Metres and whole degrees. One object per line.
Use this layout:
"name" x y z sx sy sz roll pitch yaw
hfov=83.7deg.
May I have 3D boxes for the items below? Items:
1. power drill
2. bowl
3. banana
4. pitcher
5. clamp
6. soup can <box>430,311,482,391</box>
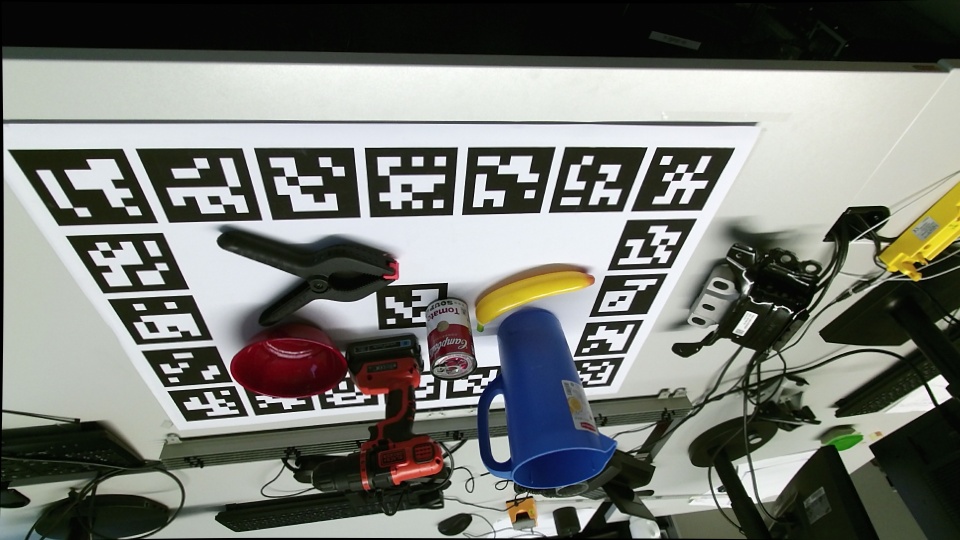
"power drill" -0.152 0.238 0.792 0.185 0.186 0.057 -6 136 -6
"bowl" -0.268 0.144 0.789 0.162 0.055 0.162 -7 135 -7
"banana" 0.085 0.055 0.796 0.198 0.038 0.074 -19 144 9
"pitcher" 0.089 0.208 0.803 0.189 0.241 0.133 -20 139 7
"clamp" -0.195 0.027 0.691 0.203 0.036 0.165 -5 132 -8
"soup can" -0.036 0.120 0.787 0.068 0.101 0.068 -7 144 -5
